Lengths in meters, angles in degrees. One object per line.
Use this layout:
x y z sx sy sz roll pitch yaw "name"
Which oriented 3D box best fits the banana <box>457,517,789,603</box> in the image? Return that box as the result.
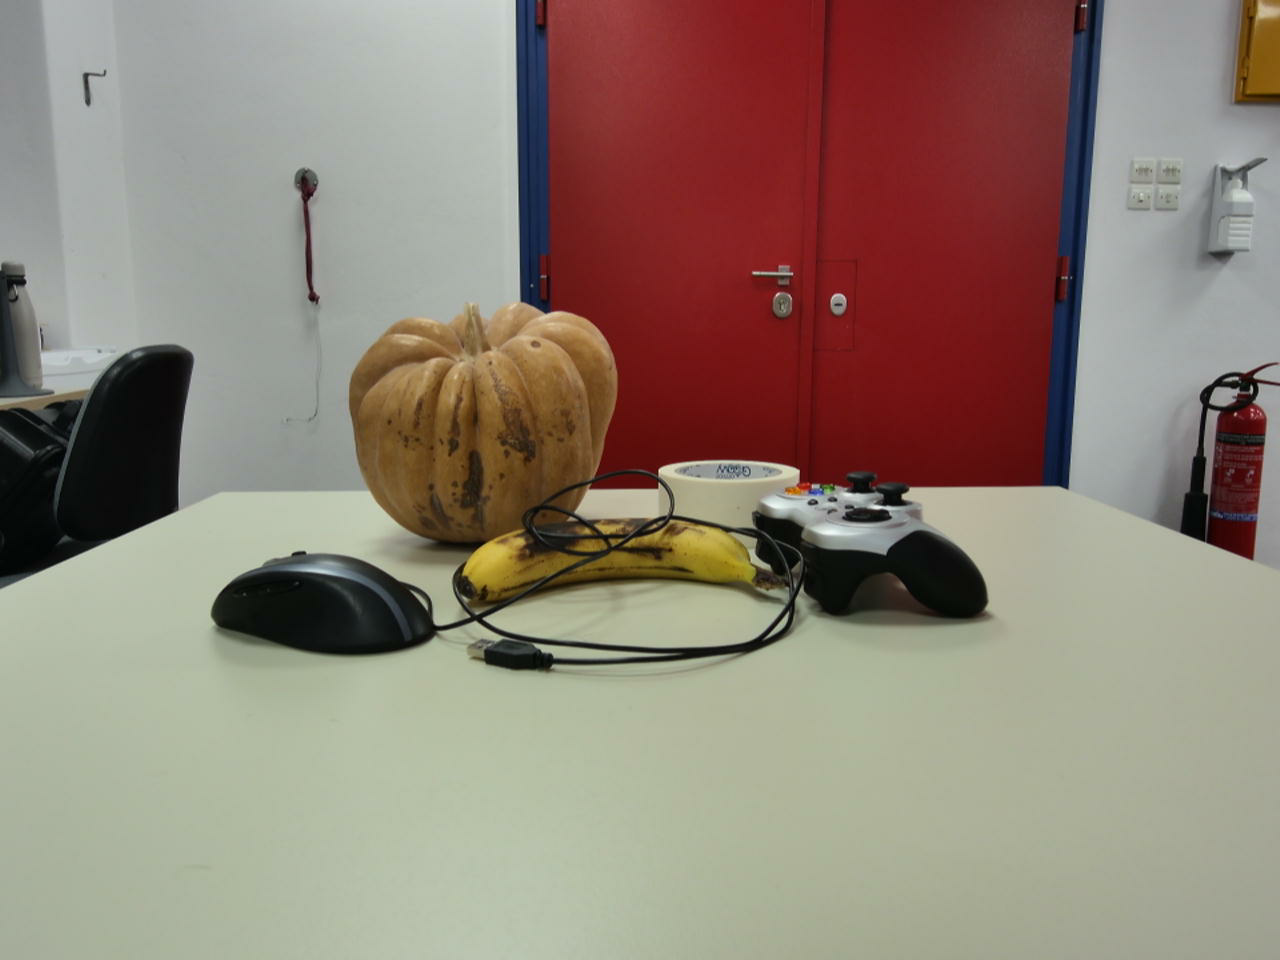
-0.012 0.048 0.603 0.187 0.039 0.094 -1 7 -3 "banana"
